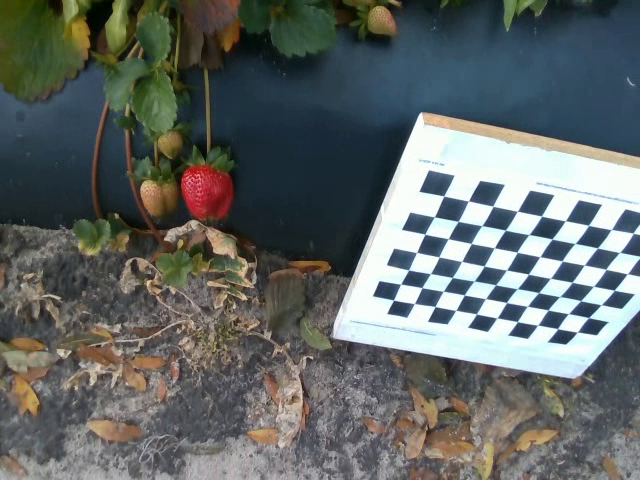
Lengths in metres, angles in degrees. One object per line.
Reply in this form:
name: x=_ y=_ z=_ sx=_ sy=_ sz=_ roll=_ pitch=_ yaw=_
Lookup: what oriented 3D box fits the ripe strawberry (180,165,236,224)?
ripe strawberry: x=-0.115 y=-0.042 z=0.608 sx=0.066 sy=0.075 sz=0.053 roll=-3 pitch=42 yaw=4
